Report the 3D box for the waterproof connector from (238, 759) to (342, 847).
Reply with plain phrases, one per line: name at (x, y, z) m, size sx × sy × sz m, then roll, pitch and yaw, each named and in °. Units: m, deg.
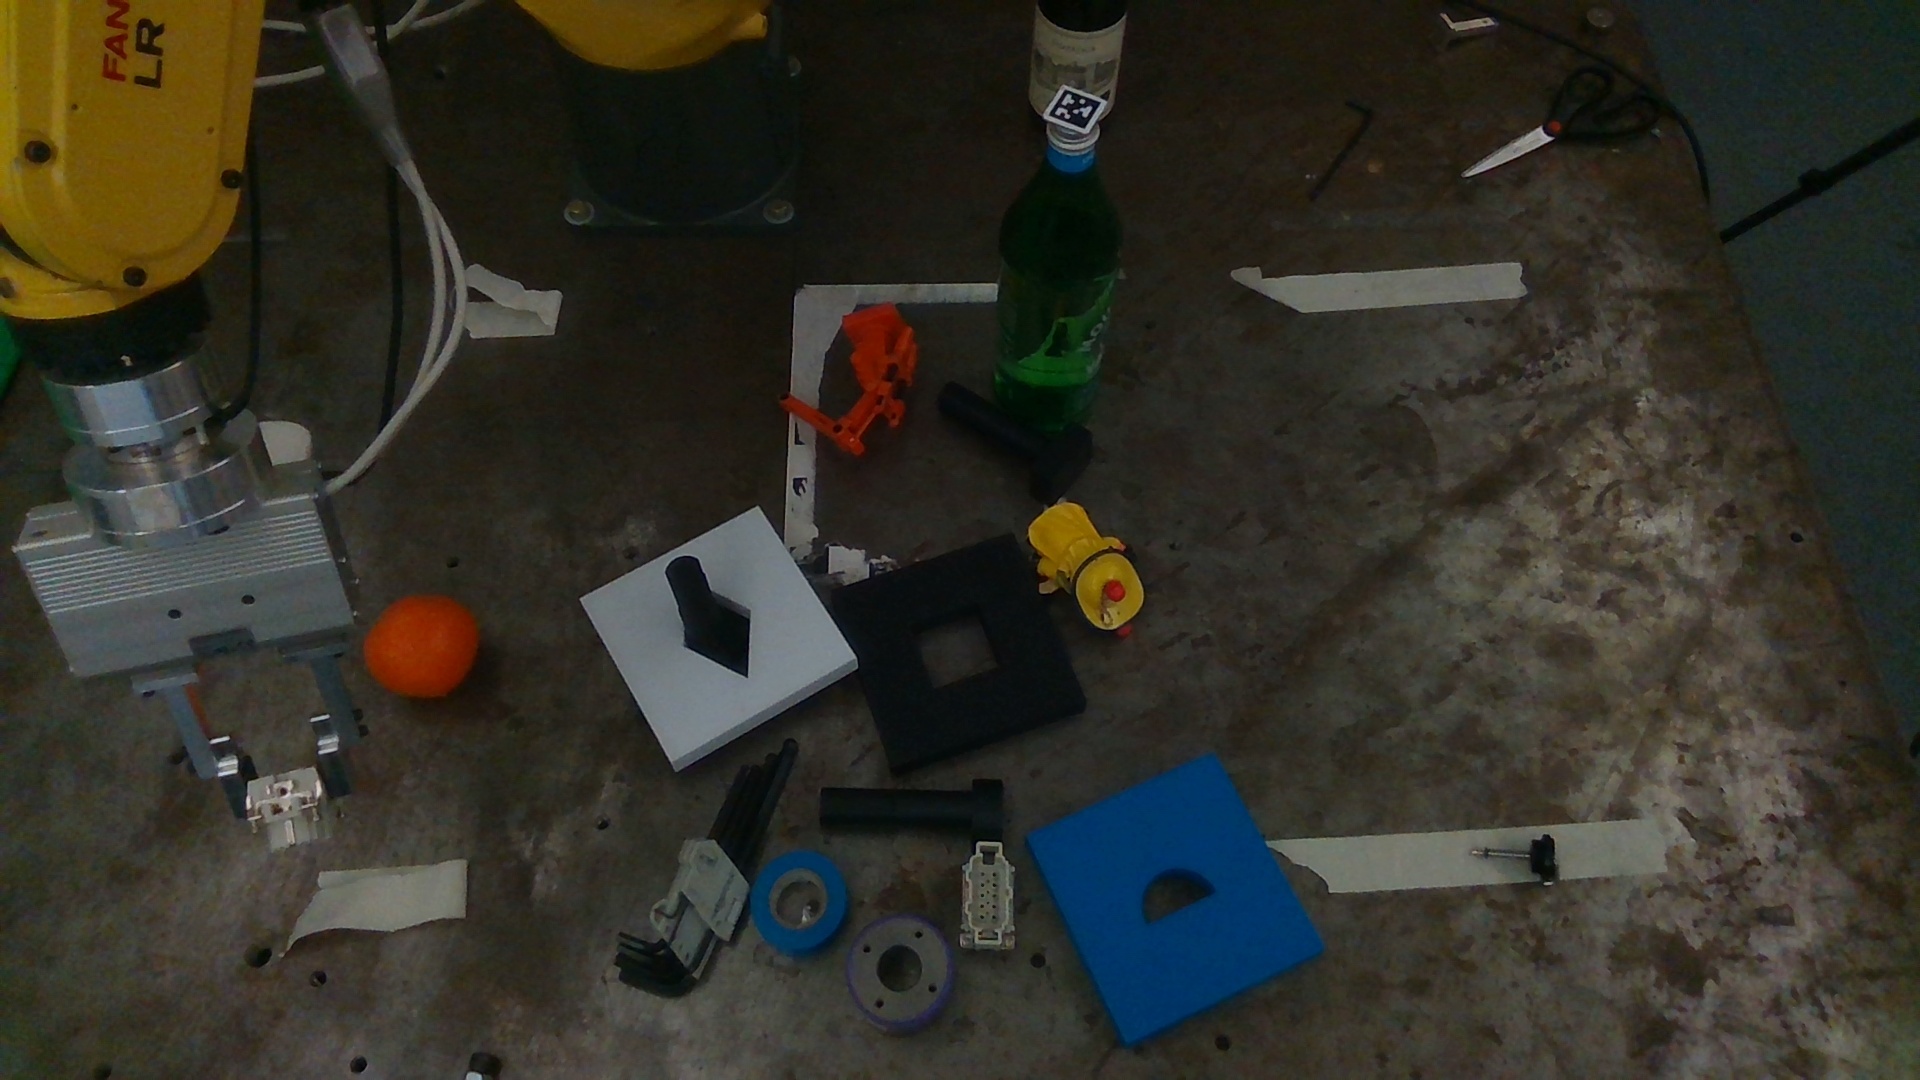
waterproof connector at (-0.349, 0.138, 0.724) m, size 0.036 × 0.069 × 0.038 m, roll -14°, pitch 82°, yaw -14°
